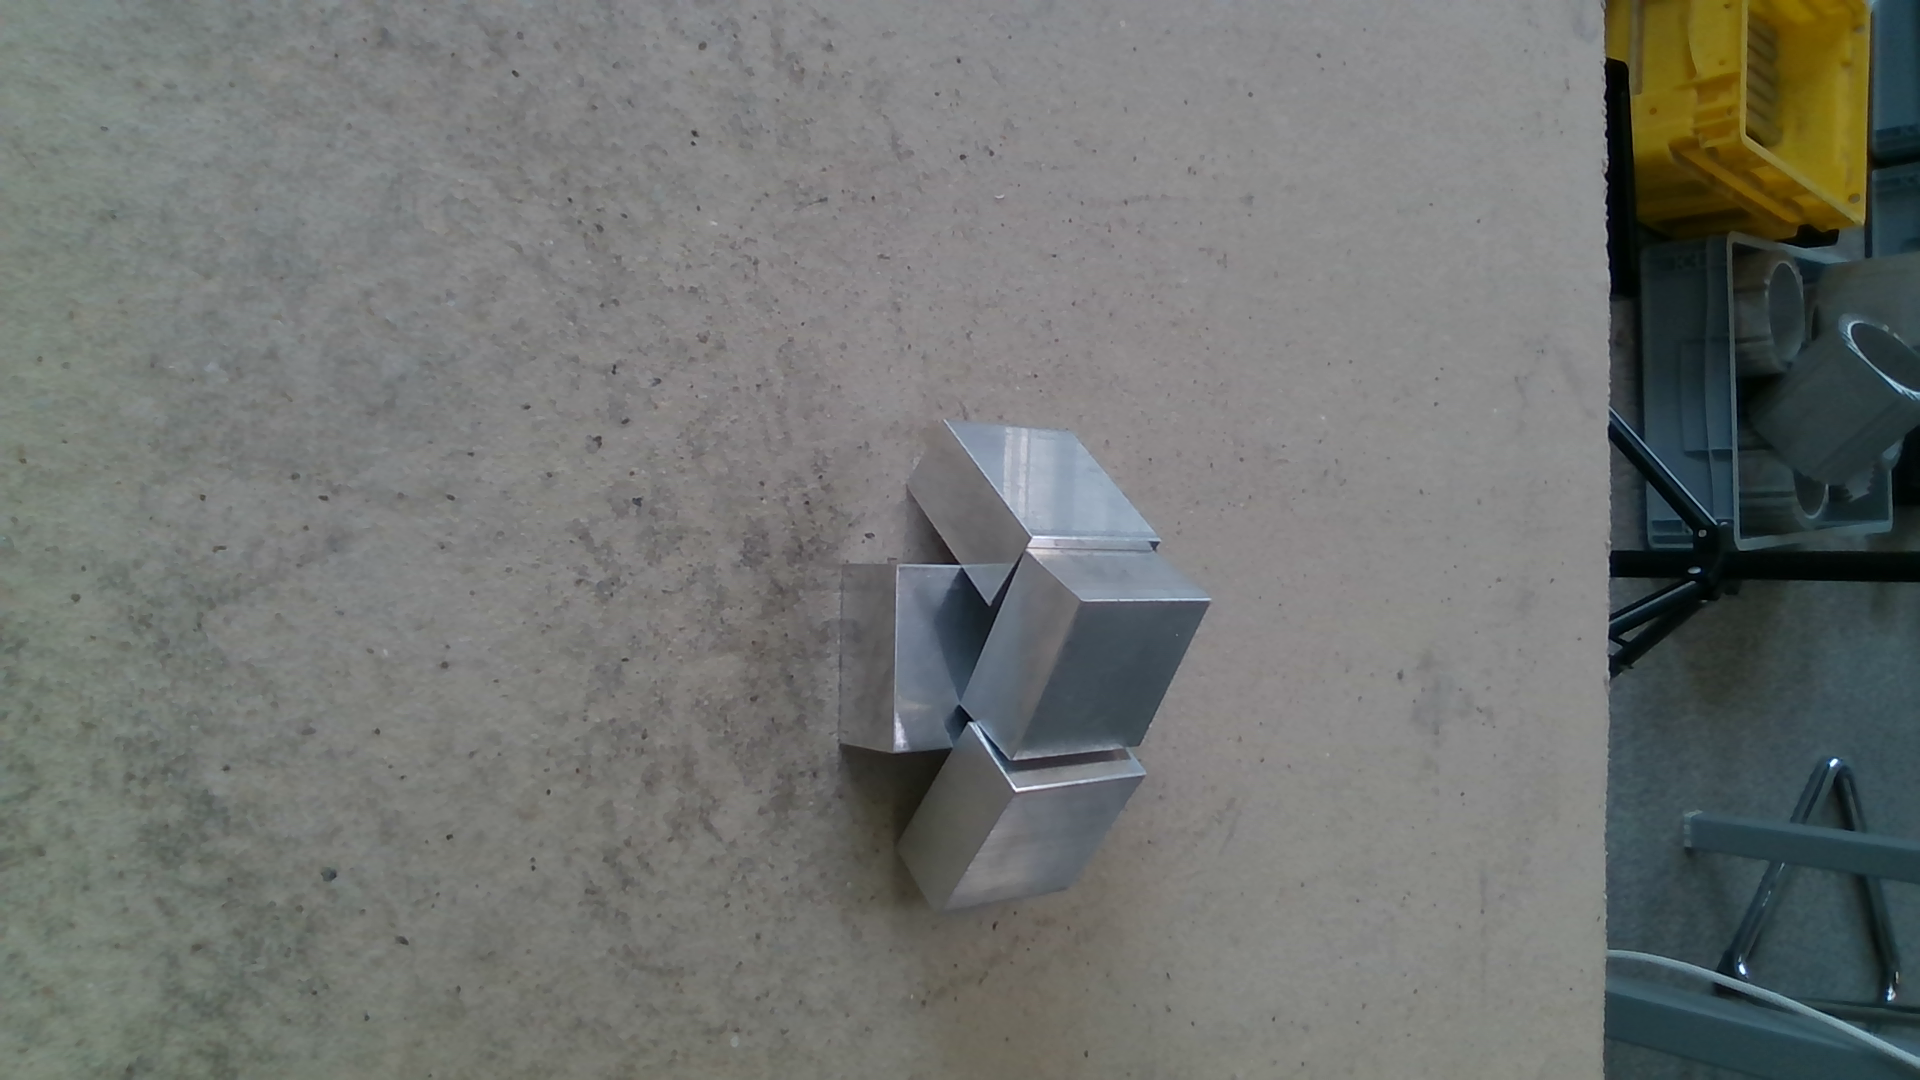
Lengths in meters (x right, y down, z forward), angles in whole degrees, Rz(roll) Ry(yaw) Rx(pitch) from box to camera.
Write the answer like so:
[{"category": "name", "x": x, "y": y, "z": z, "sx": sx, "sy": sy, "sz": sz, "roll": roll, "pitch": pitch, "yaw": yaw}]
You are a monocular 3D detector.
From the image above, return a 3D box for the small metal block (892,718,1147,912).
[{"category": "small metal block", "x": 0.017, "y": 0.075, "z": 0.389, "sx": 0.050, "sy": 0.025, "sz": 0.050, "roll": 2, "pitch": 129, "yaw": -40}]

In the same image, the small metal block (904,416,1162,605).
[{"category": "small metal block", "x": 0.020, "y": -0.008, "z": 0.390, "sx": 0.050, "sy": 0.050, "sz": 0.025, "roll": 1, "pitch": 131, "yaw": -40}]

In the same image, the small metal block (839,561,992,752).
[{"category": "small metal block", "x": -0.006, "y": 0.031, "z": 0.386, "sx": 0.050, "sy": 0.025, "sz": 0.050, "roll": 1, "pitch": 90, "yaw": -40}]

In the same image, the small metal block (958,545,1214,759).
[{"category": "small metal block", "x": 0.034, "y": 0.030, "z": 0.372, "sx": 0.050, "sy": 0.025, "sz": 0.050, "roll": 2, "pitch": 120, "yaw": -40}]

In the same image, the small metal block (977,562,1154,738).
[{"category": "small metal block", "x": 0.033, "y": 0.032, "z": 0.419, "sx": 0.050, "sy": 0.025, "sz": 0.050, "roll": 1, "pitch": 90, "yaw": -40}]
